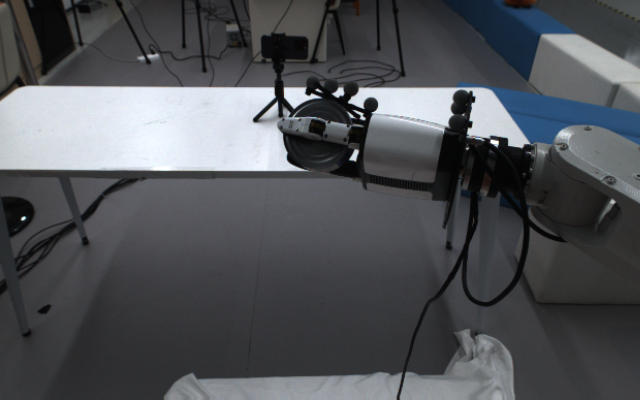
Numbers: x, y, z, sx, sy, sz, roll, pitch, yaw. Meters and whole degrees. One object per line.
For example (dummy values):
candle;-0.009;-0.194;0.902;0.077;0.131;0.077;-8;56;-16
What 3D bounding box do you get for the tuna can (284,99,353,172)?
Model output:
tuna can;0.002;-0.079;0.589;0.085;0.085;0.034;13;-6;16
